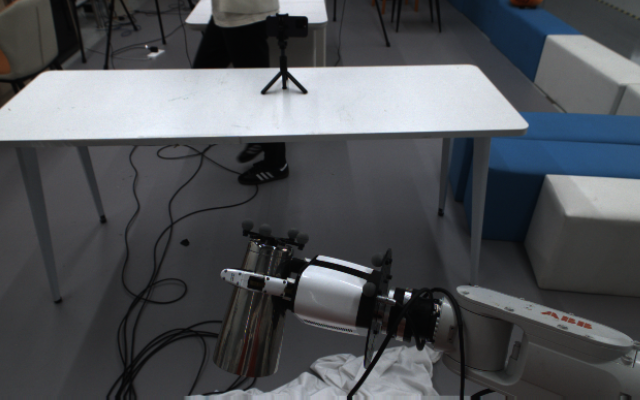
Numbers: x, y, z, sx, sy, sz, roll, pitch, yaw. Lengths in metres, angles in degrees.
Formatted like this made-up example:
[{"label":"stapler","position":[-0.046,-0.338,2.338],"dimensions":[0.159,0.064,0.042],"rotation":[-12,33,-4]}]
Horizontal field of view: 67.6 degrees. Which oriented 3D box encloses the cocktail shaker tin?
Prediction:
[{"label":"cocktail shaker tin","position":[-0.082,0.143,0.674],"dimensions":[0.093,0.170,0.093],"rotation":[13,1,0]}]
